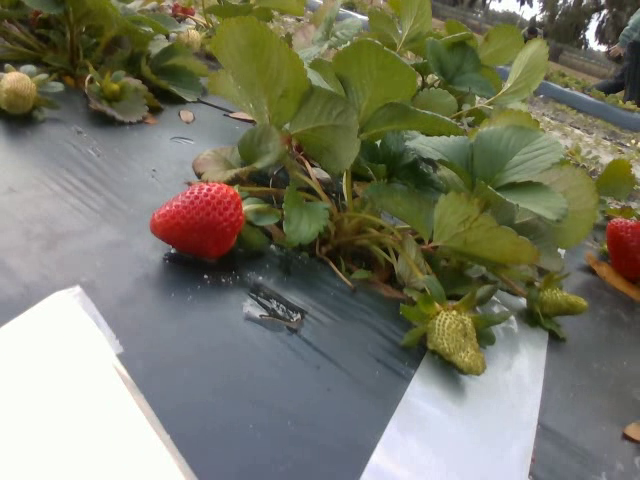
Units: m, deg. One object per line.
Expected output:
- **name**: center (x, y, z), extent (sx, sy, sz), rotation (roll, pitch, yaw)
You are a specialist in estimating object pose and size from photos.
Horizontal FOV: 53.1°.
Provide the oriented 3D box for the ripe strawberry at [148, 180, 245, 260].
- **ripe strawberry**: center (-0.051, -0.009, 0.270), extent (0.046, 0.040, 0.036), rotation (4, 5, -45)
